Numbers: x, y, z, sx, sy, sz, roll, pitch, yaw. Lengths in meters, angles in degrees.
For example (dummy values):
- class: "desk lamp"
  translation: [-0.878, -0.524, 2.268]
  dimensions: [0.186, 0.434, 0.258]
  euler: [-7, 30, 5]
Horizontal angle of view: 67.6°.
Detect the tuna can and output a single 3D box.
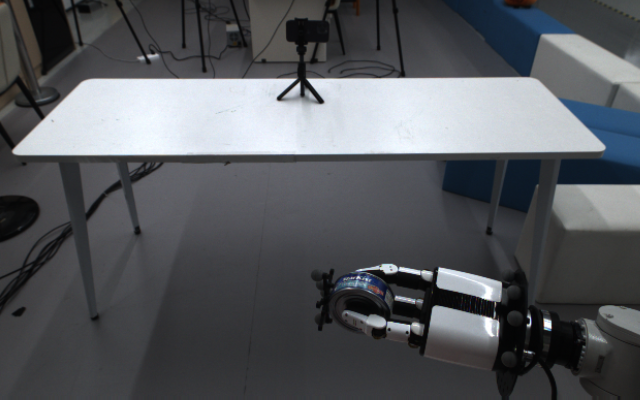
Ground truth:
- class: "tuna can"
  translation: [0.058, 0.140, 0.645]
  dimensions: [0.085, 0.085, 0.034]
  euler: [9, 32, 10]
